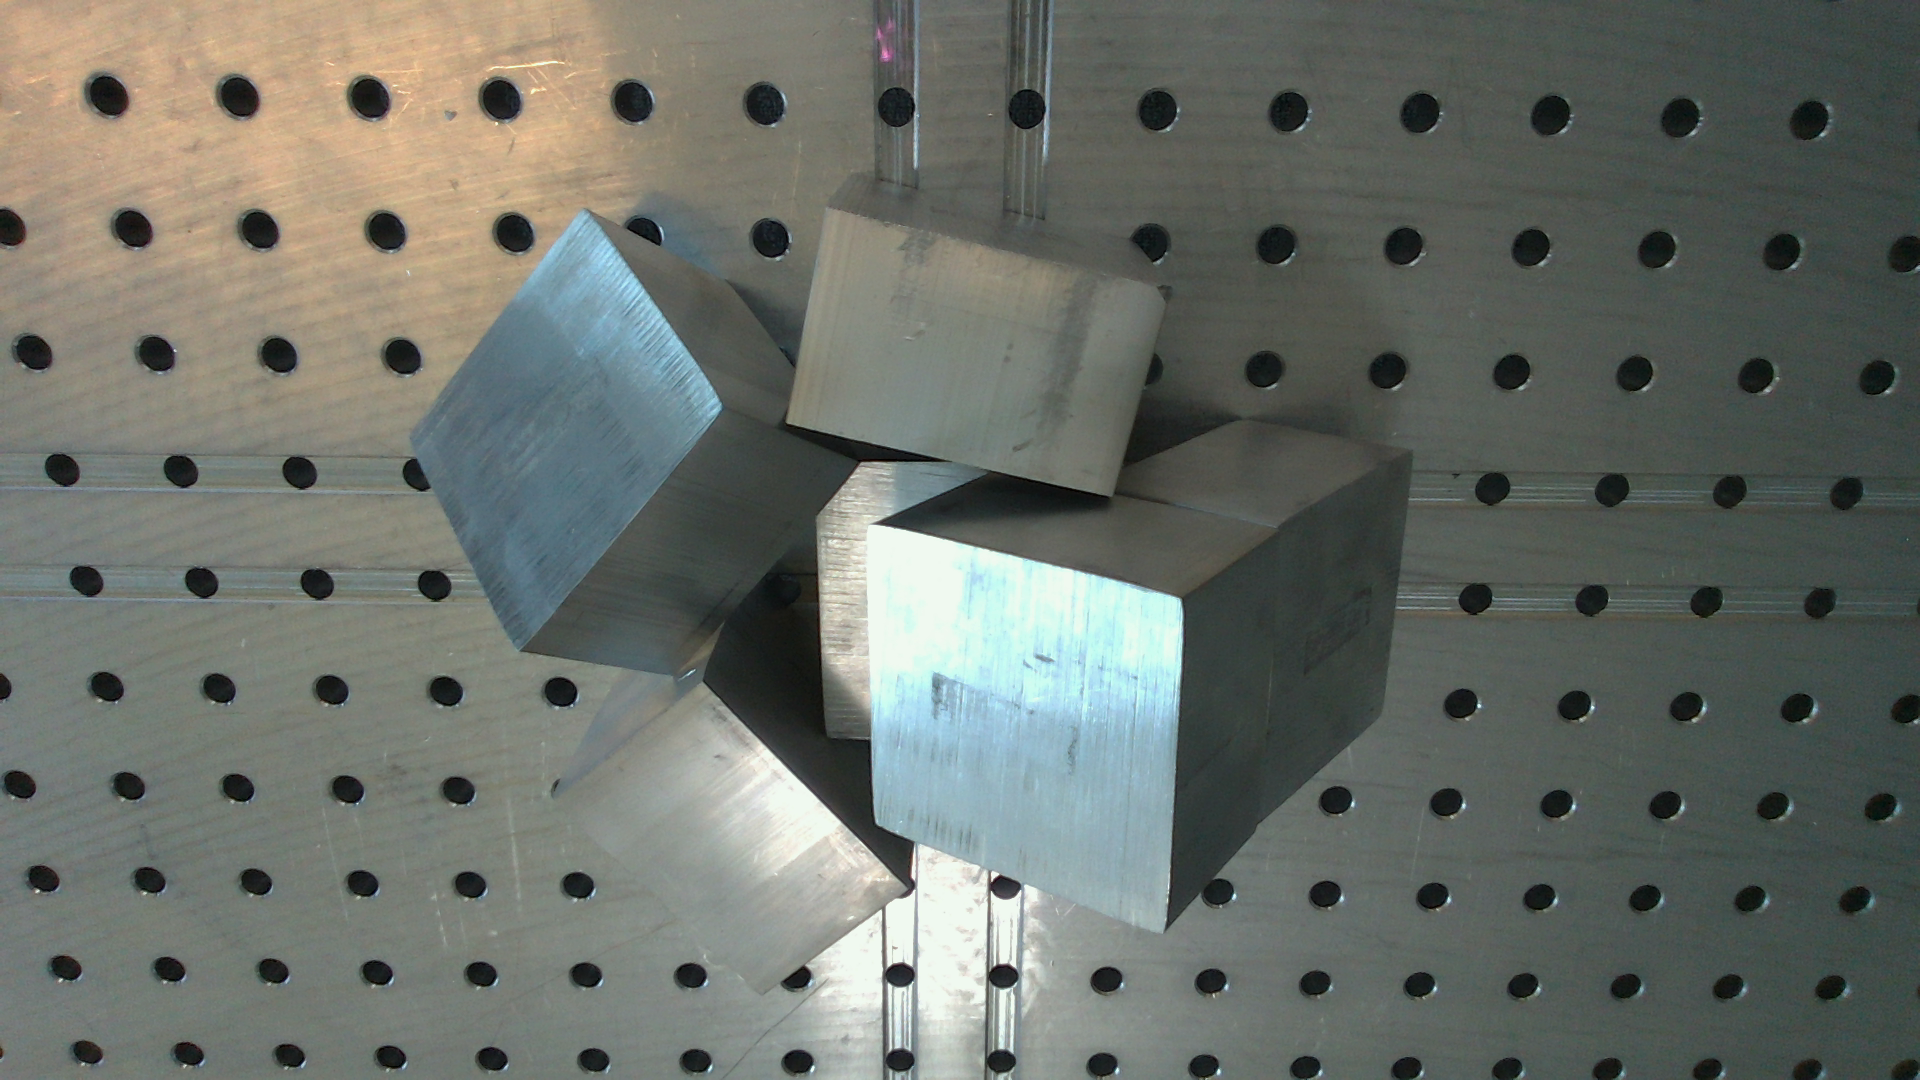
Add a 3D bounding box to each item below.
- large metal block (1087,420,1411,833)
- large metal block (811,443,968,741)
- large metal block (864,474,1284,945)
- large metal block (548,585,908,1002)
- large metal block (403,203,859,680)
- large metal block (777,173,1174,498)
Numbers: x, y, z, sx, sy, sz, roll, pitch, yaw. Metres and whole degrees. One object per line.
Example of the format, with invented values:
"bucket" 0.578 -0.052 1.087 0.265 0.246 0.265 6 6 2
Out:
"large metal block" 0.076 0.019 0.366 0.050 0.080 0.080 14 114 35
"large metal block" 0.001 0.009 0.387 0.080 0.050 0.080 1 110 0
"large metal block" 0.025 0.035 0.322 0.080 0.050 0.080 13 113 32
"large metal block" -0.059 0.066 0.390 0.050 0.080 0.080 -38 106 12
"large metal block" -0.086 -0.023 0.351 0.080 0.080 0.050 -47 148 15
"large metal block" 0.003 -0.055 0.347 0.080 0.080 0.050 12 110 -4
